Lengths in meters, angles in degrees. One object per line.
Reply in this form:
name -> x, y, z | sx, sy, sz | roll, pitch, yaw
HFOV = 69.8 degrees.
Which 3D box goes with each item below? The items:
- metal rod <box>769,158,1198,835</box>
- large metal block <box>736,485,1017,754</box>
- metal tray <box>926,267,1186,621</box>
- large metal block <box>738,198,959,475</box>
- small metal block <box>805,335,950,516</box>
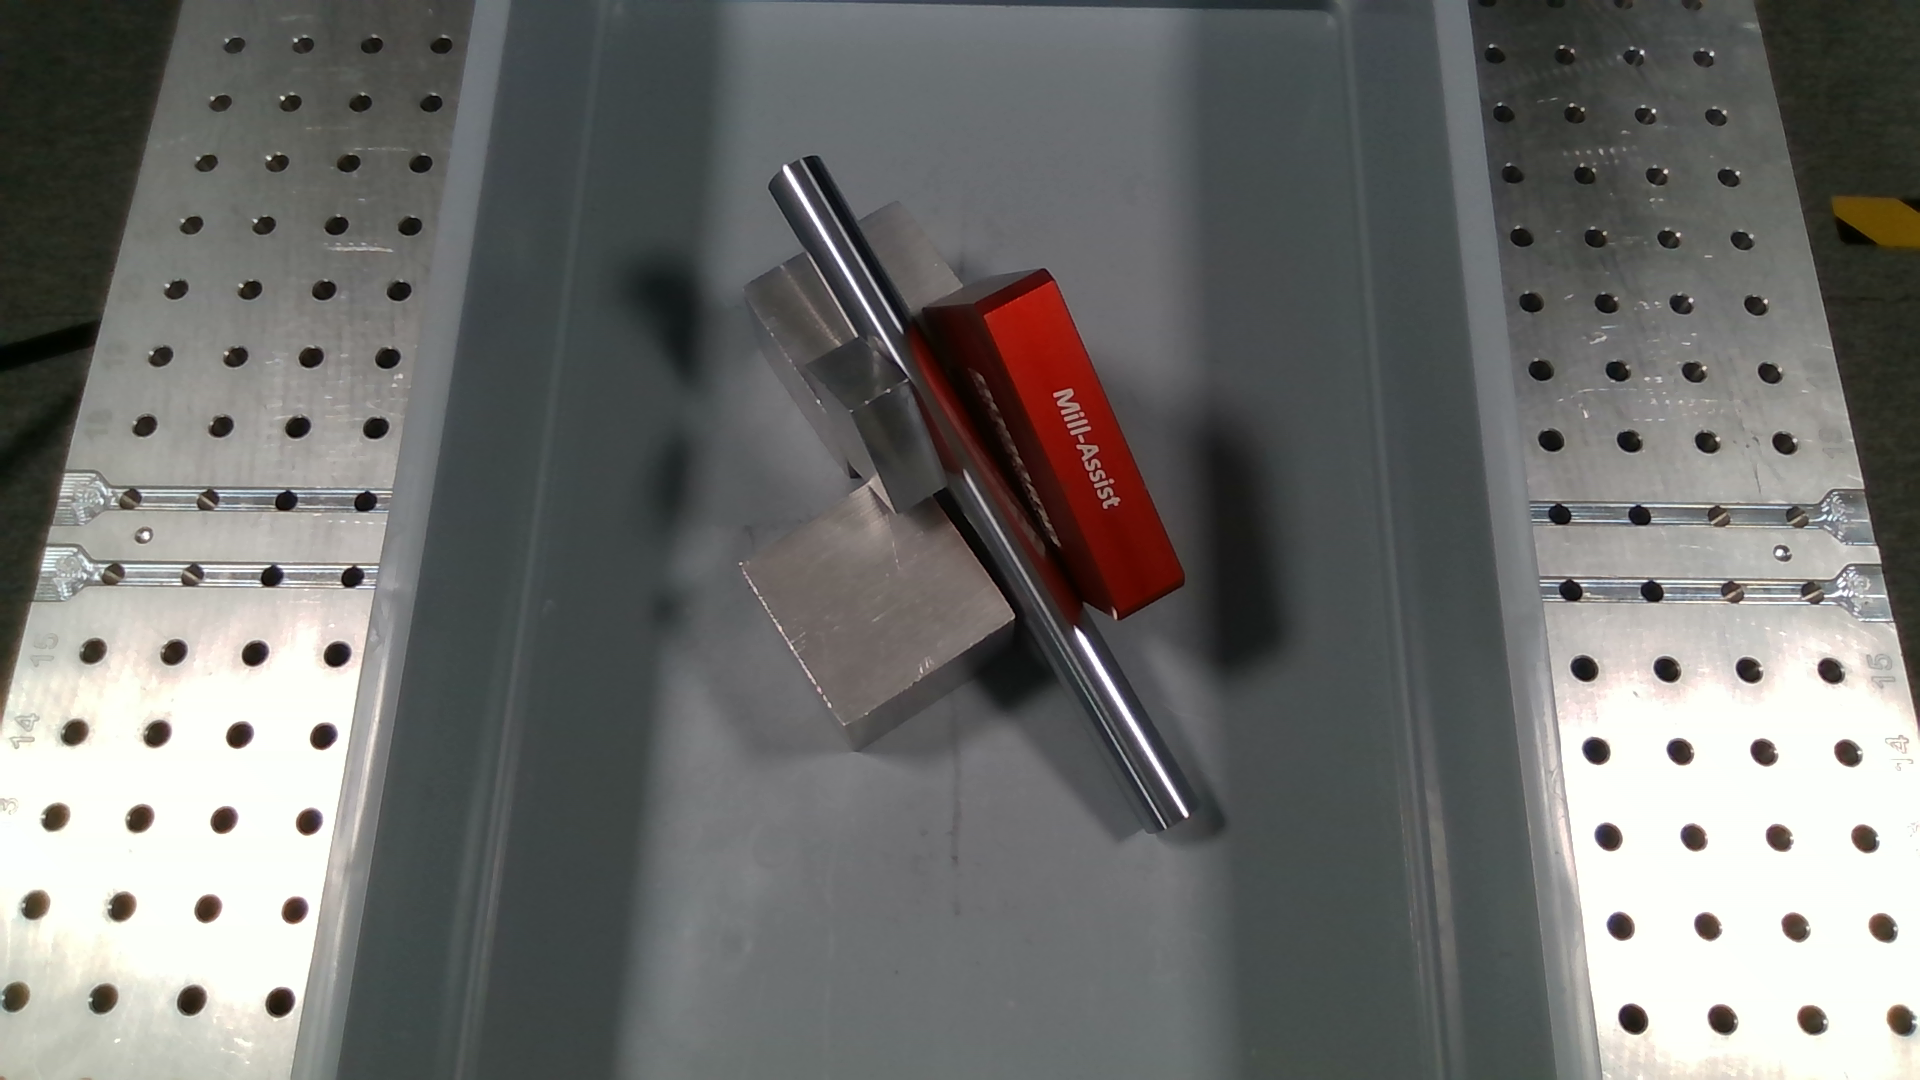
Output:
metal rod -> 0.009, -0.018, 0.554 | 0.025, 0.025, 0.300 | -30, 88, -10
large metal block -> -0.033, 0.028, 0.564 | 0.080, 0.050, 0.080 | -32, 73, -11
metal tray -> 0.035, -0.039, 0.538 | 0.030, 0.090, 0.130 | -28, 105, -9
large metal block -> -0.039, -0.088, 0.603 | 0.080, 0.050, 0.080 | -32, 73, -11
small metal block -> -0.032, -0.045, 0.538 | 0.025, 0.050, 0.050 | -29, 36, -10
